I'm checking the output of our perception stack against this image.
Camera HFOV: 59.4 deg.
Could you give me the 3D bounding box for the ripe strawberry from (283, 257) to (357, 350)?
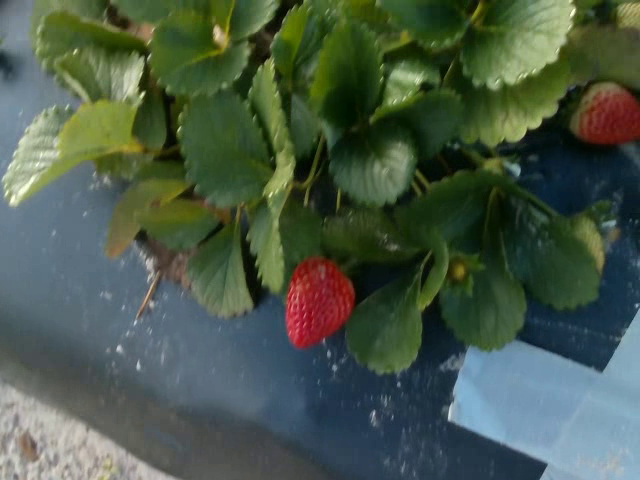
[{"bbox_3d":[-0.001,0.016,0.134,0.018,0.023,0.021,18,-16,31],"label":"ripe strawberry"}]
